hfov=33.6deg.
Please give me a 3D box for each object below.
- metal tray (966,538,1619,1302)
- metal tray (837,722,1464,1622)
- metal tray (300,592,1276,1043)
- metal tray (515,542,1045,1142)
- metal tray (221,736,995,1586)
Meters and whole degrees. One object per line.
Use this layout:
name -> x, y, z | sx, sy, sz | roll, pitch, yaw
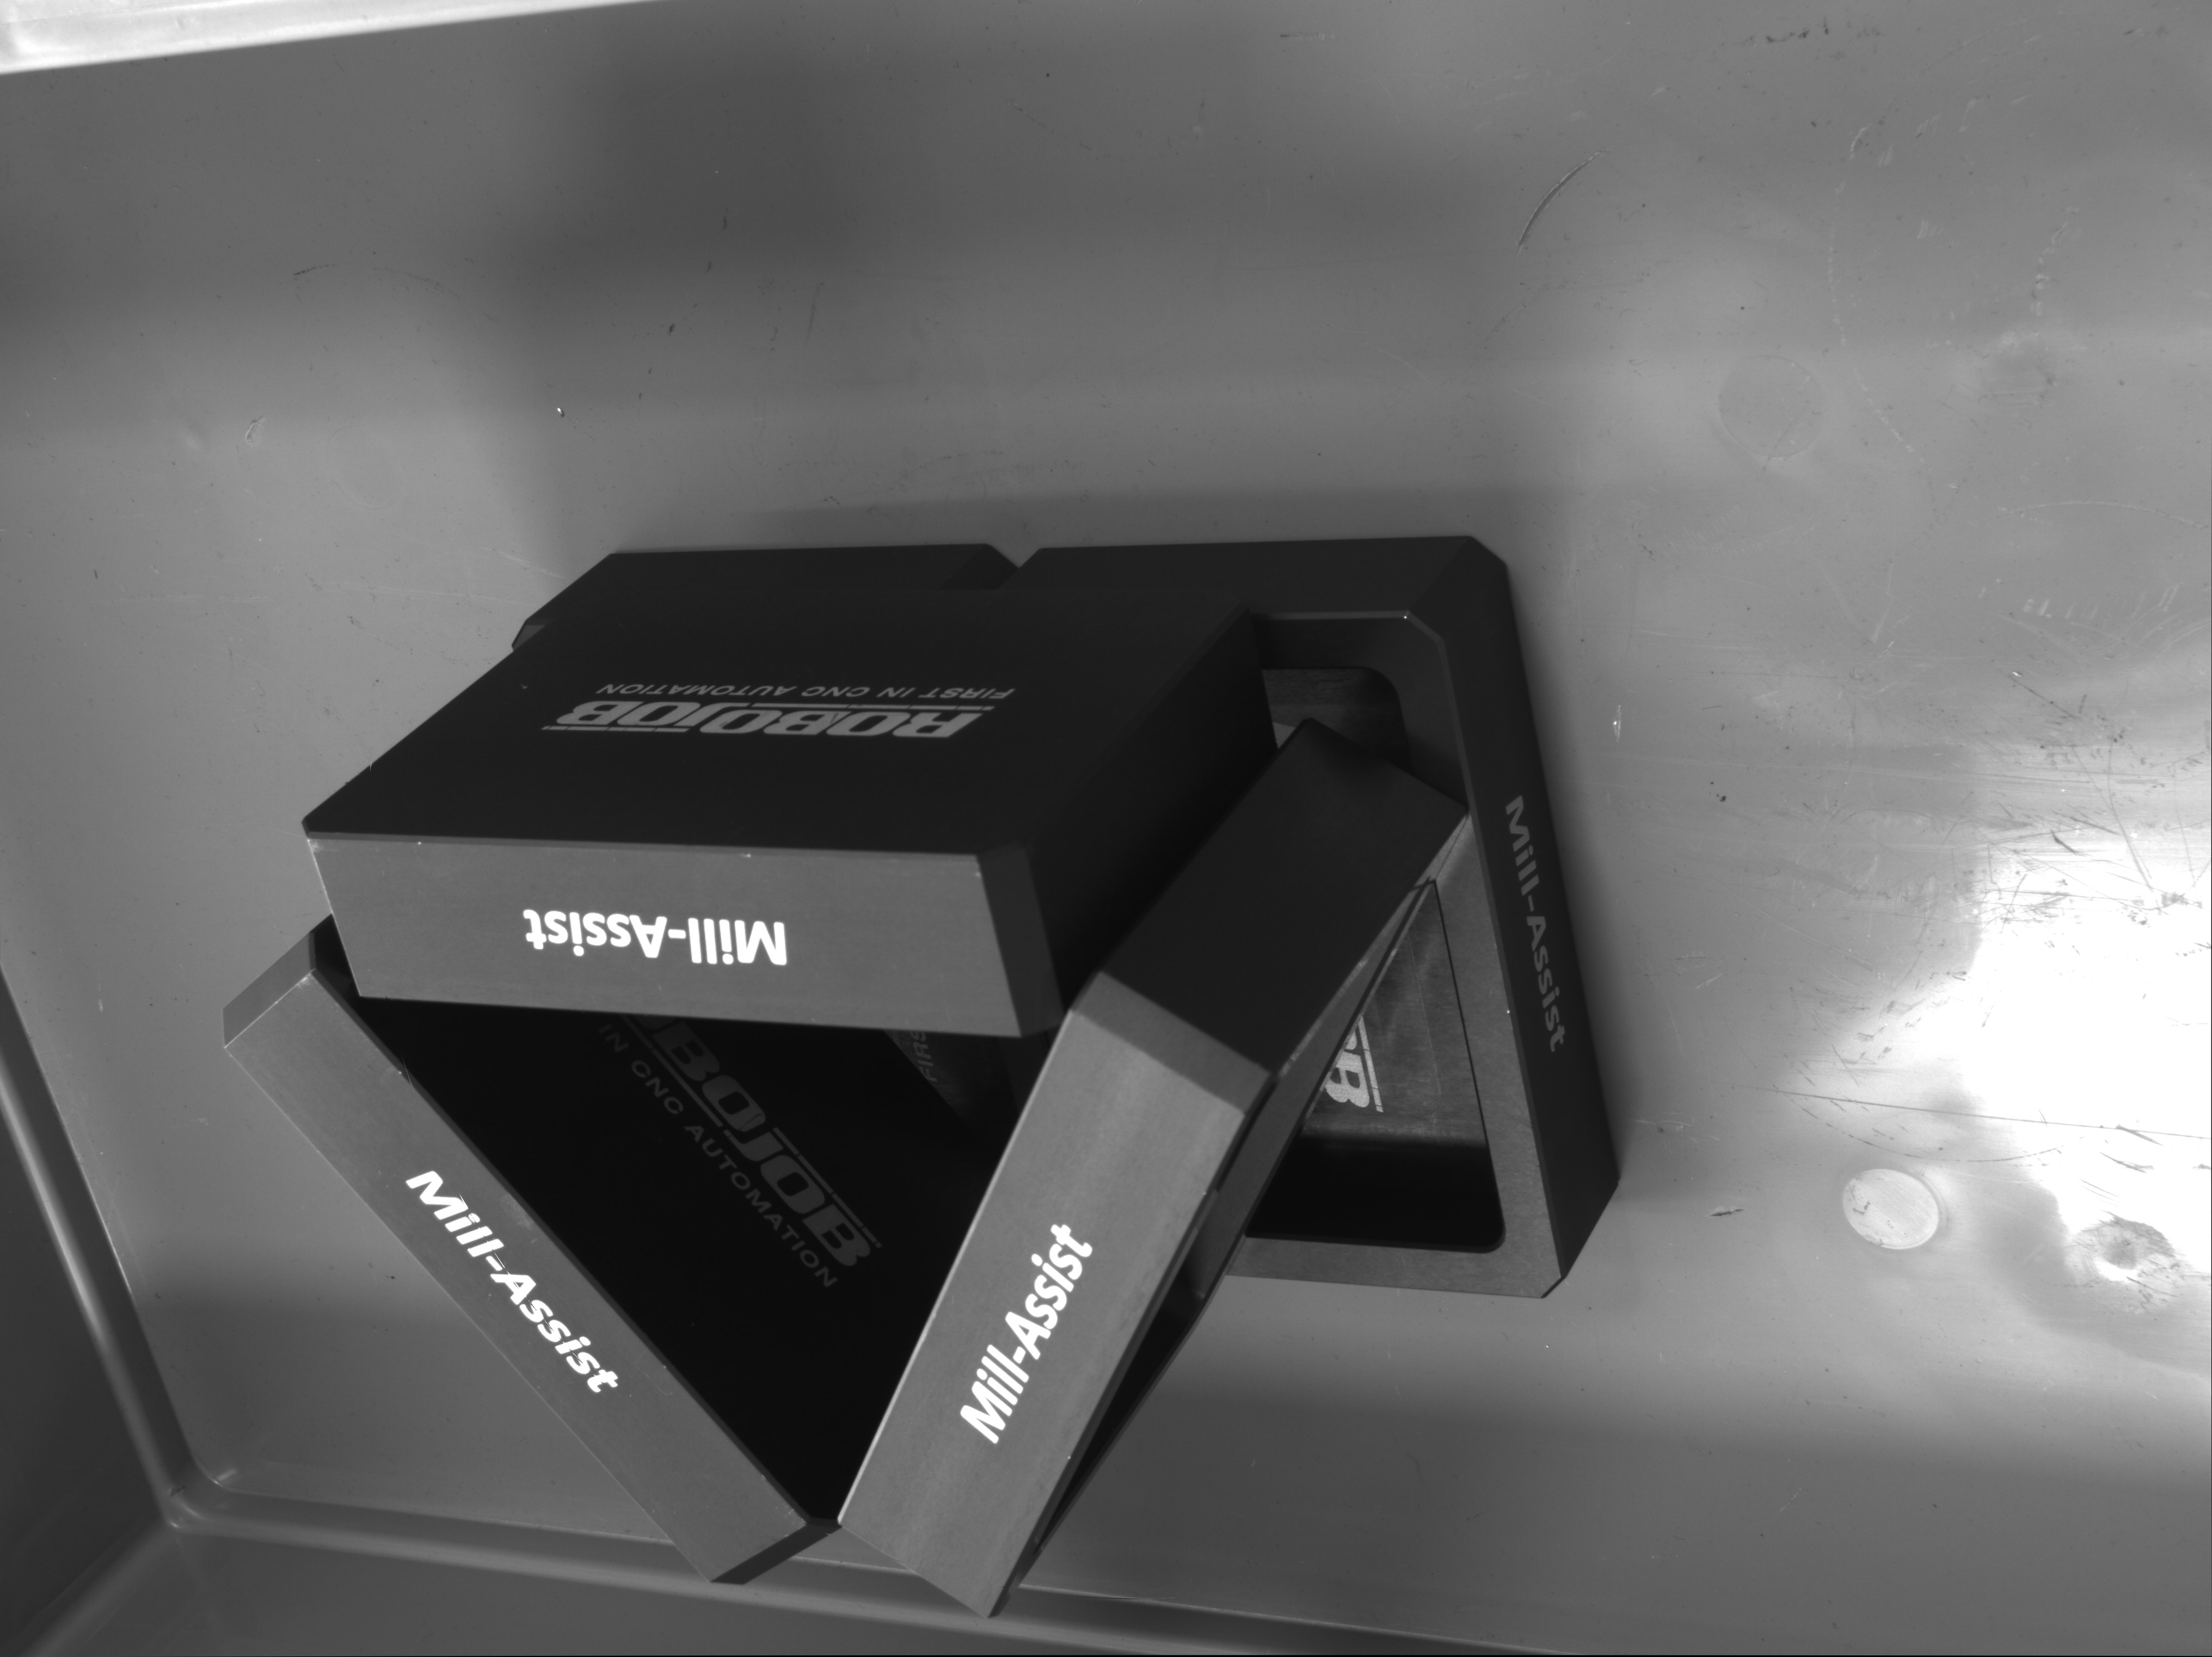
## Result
metal tray -> 0.033, 0.016, 0.631 | 0.090, 0.030, 0.130 | 1, 118, 28
metal tray -> 0.007, 0.056, 0.590 | 0.030, 0.090, 0.130 | 31, 129, 9
metal tray -> -0.049, -0.005, 0.582 | 0.130, 0.090, 0.030 | 2, 119, 28
metal tray -> -0.048, 0.014, 0.673 | 0.090, 0.030, 0.130 | 0, 118, 28
metal tray -> -0.078, 0.054, 0.634 | 0.130, 0.090, 0.030 | 49, 129, -6
